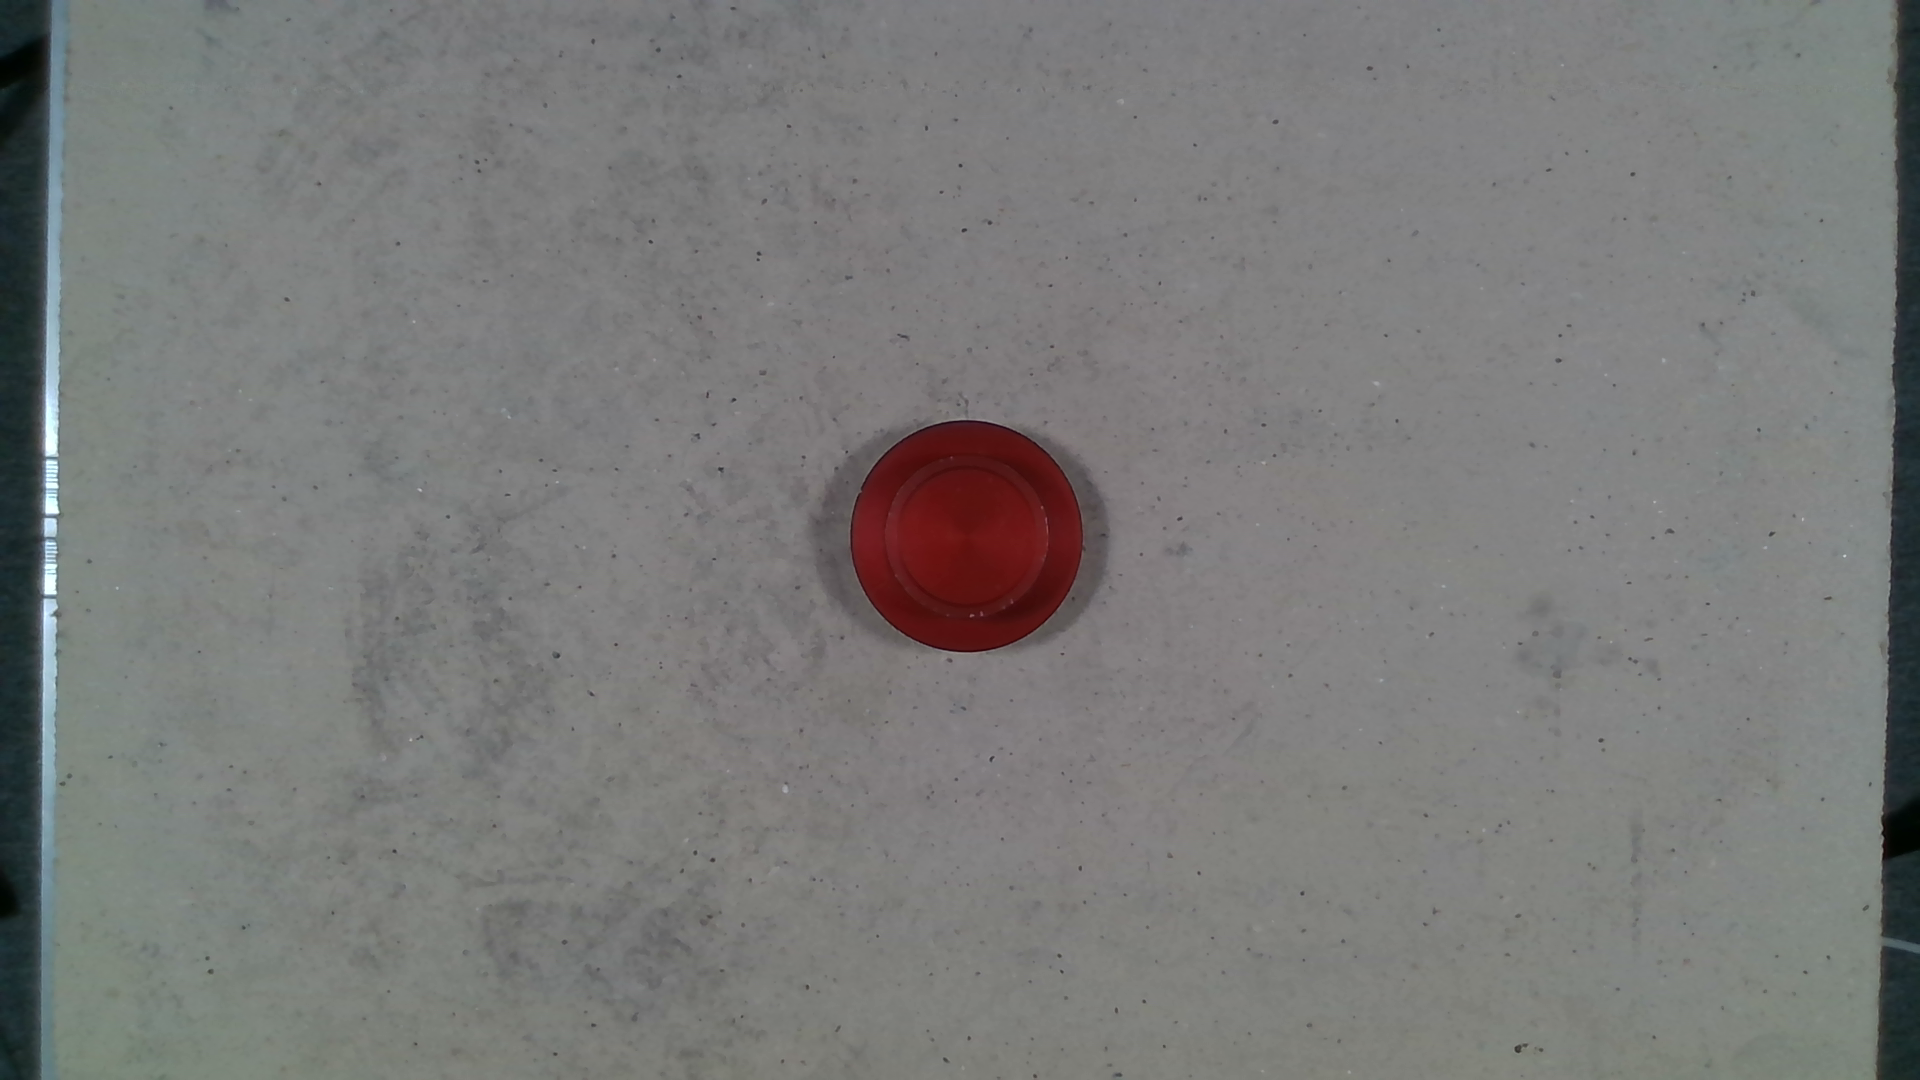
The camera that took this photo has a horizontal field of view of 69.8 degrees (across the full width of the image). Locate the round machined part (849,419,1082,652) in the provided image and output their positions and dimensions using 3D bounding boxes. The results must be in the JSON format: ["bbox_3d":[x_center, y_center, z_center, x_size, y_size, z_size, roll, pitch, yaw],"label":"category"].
[{"bbox_3d":[0.002,-0.002,0.578,0.098,0.042,0.098,0,90,0],"label":"round machined part"}]
